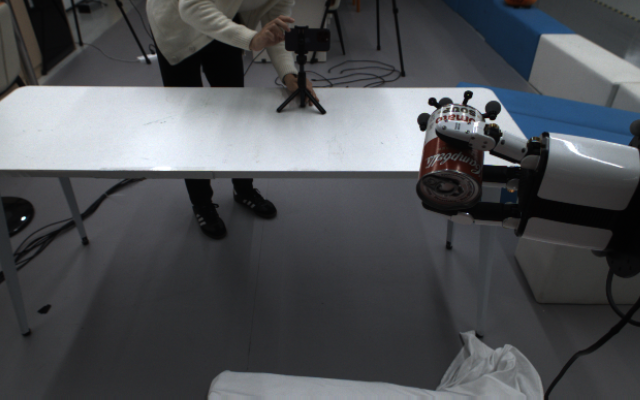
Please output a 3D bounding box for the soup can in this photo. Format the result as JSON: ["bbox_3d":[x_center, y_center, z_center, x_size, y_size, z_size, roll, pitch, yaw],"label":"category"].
[{"bbox_3d":[0.148,-0.050,0.538,0.067,0.067,0.101,9,56,10],"label":"soup can"}]
